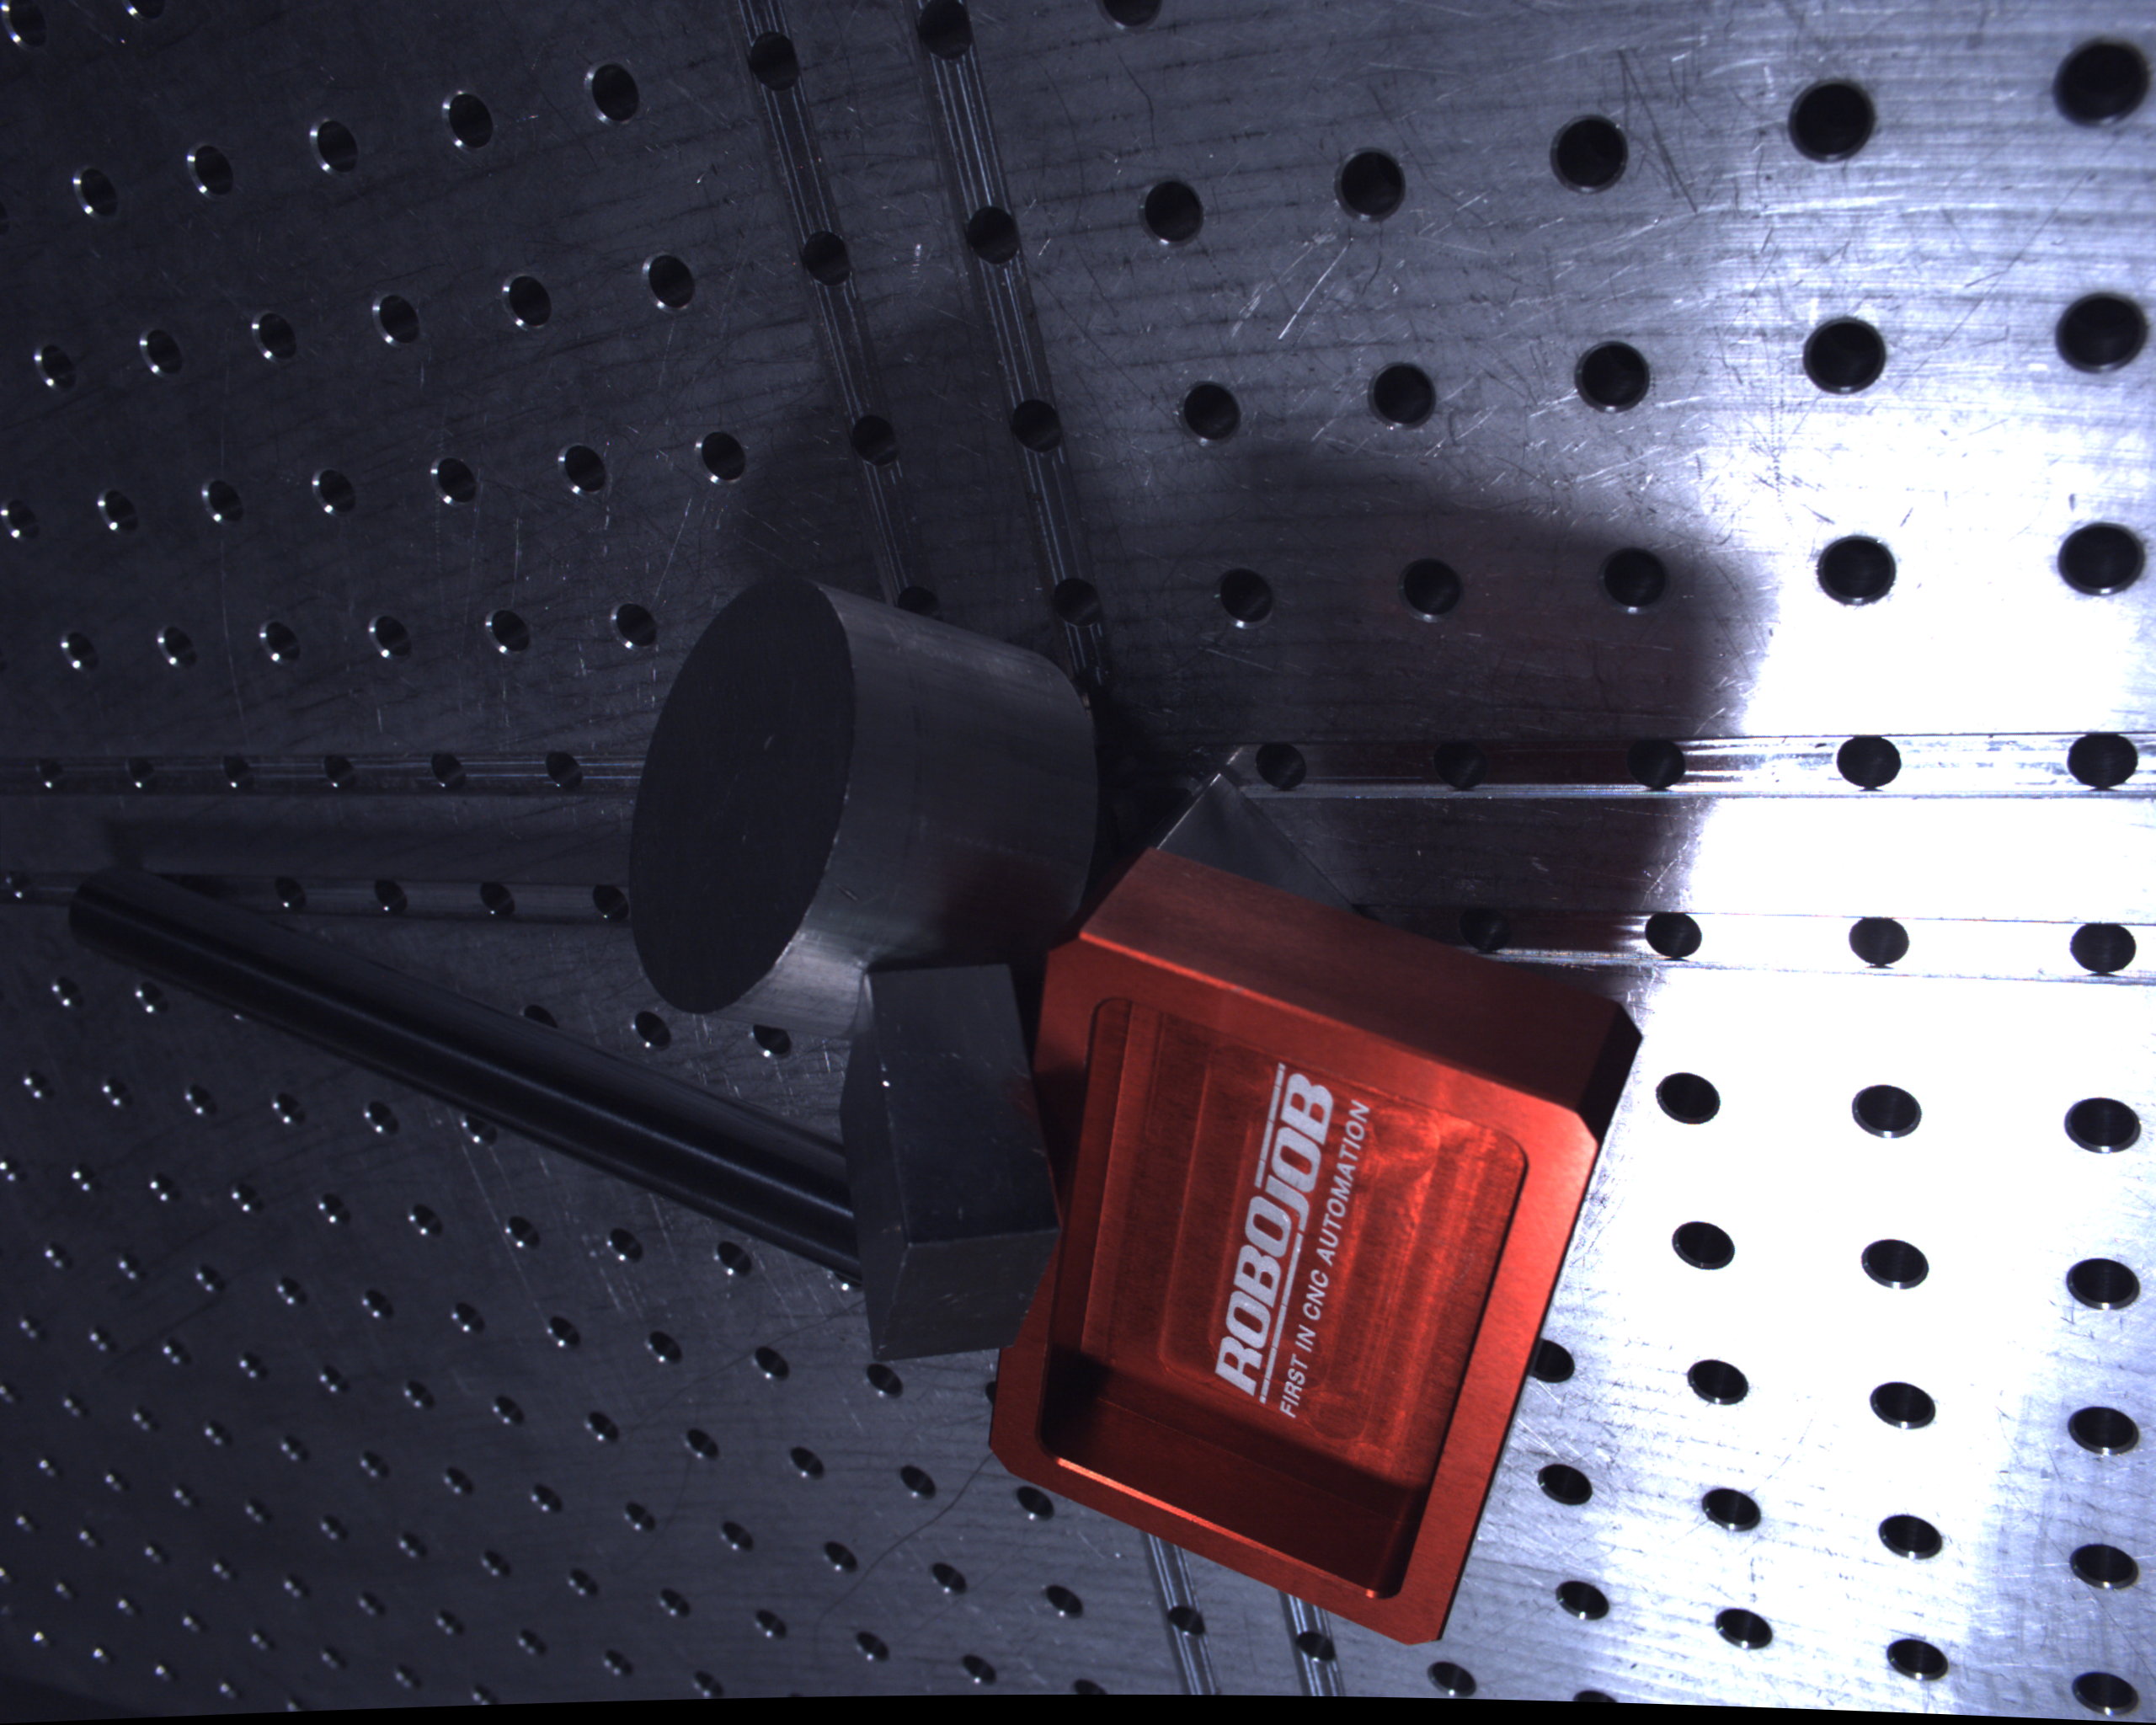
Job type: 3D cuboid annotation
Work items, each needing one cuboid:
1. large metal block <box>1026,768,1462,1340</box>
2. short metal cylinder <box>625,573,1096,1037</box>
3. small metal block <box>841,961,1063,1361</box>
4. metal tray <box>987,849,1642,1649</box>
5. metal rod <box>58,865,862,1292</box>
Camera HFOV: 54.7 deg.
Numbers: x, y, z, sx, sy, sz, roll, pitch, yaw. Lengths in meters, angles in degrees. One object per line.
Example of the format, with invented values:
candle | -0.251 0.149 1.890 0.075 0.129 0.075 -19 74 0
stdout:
large metal block | 0.020 0.042 0.408 0.080 0.050 0.080 46 129 -5
short metal cylinder | -0.042 -0.008 0.383 0.050 0.080 0.080 15 140 -36
small metal block | -0.024 0.052 0.361 0.025 0.050 0.050 -3 147 -15
metal tray | 0.036 0.070 0.363 0.090 0.030 0.129 19 126 17
metal rod | -0.136 0.045 0.470 0.300 0.025 0.025 15 125 33
